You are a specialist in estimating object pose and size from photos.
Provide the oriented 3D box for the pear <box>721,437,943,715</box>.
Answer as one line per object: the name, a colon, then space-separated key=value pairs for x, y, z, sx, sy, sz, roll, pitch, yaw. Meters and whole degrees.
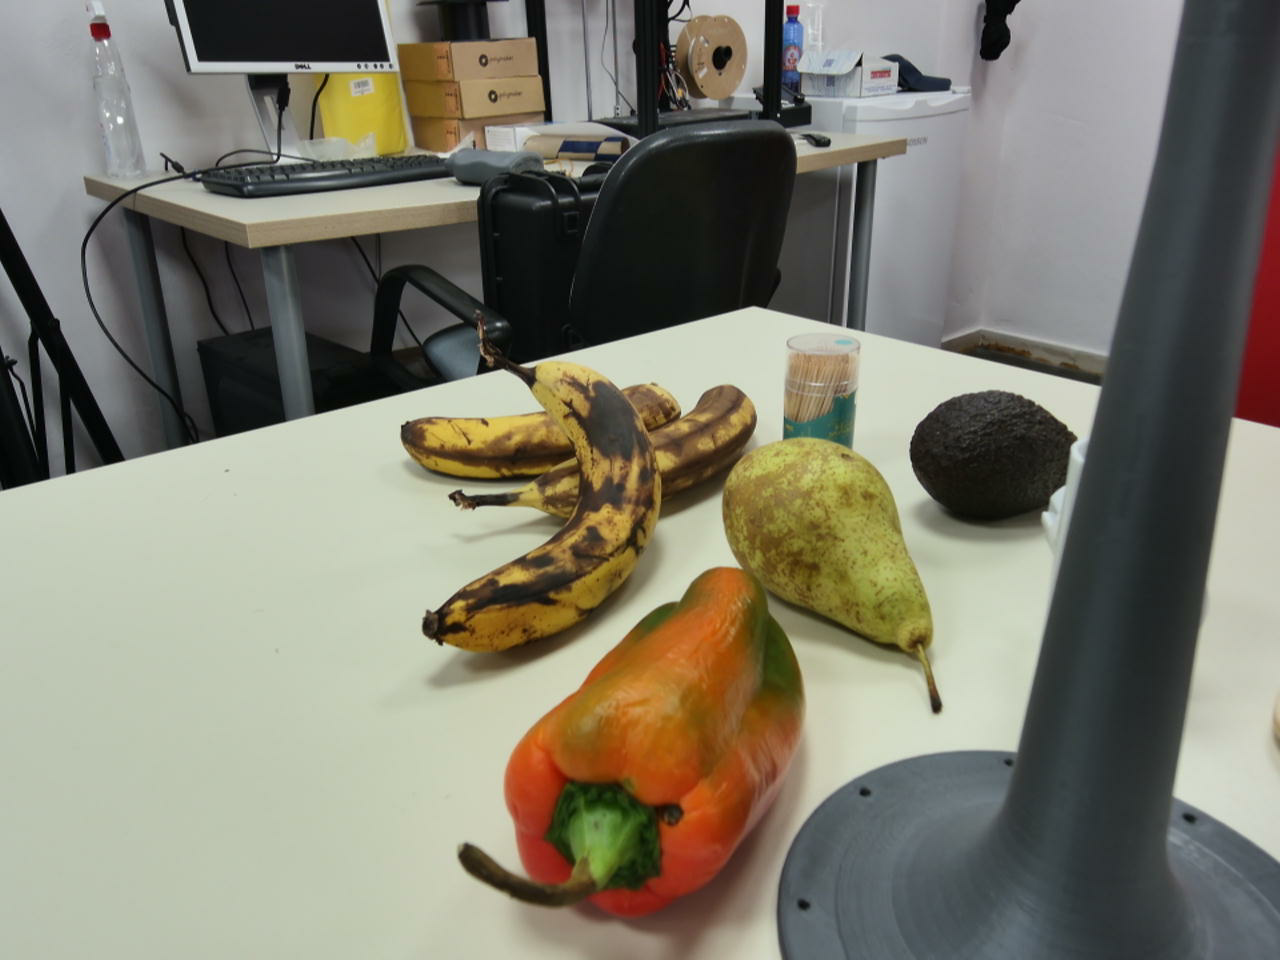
pear: x=0.089 y=0.025 z=0.424 sx=0.128 sy=0.075 sz=0.071 roll=20 pitch=29 yaw=39
